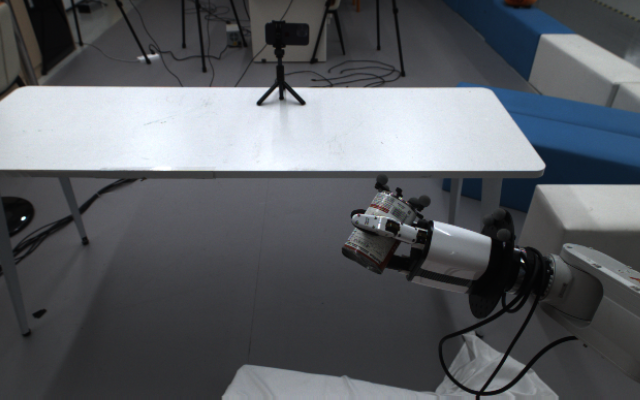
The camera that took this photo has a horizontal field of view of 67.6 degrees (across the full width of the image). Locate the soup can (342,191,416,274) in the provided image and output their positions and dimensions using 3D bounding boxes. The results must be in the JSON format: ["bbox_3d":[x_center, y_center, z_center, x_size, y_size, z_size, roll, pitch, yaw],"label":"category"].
[{"bbox_3d":[0.086,0.045,0.695,0.067,0.067,0.101,27,76,31],"label":"soup can"}]
